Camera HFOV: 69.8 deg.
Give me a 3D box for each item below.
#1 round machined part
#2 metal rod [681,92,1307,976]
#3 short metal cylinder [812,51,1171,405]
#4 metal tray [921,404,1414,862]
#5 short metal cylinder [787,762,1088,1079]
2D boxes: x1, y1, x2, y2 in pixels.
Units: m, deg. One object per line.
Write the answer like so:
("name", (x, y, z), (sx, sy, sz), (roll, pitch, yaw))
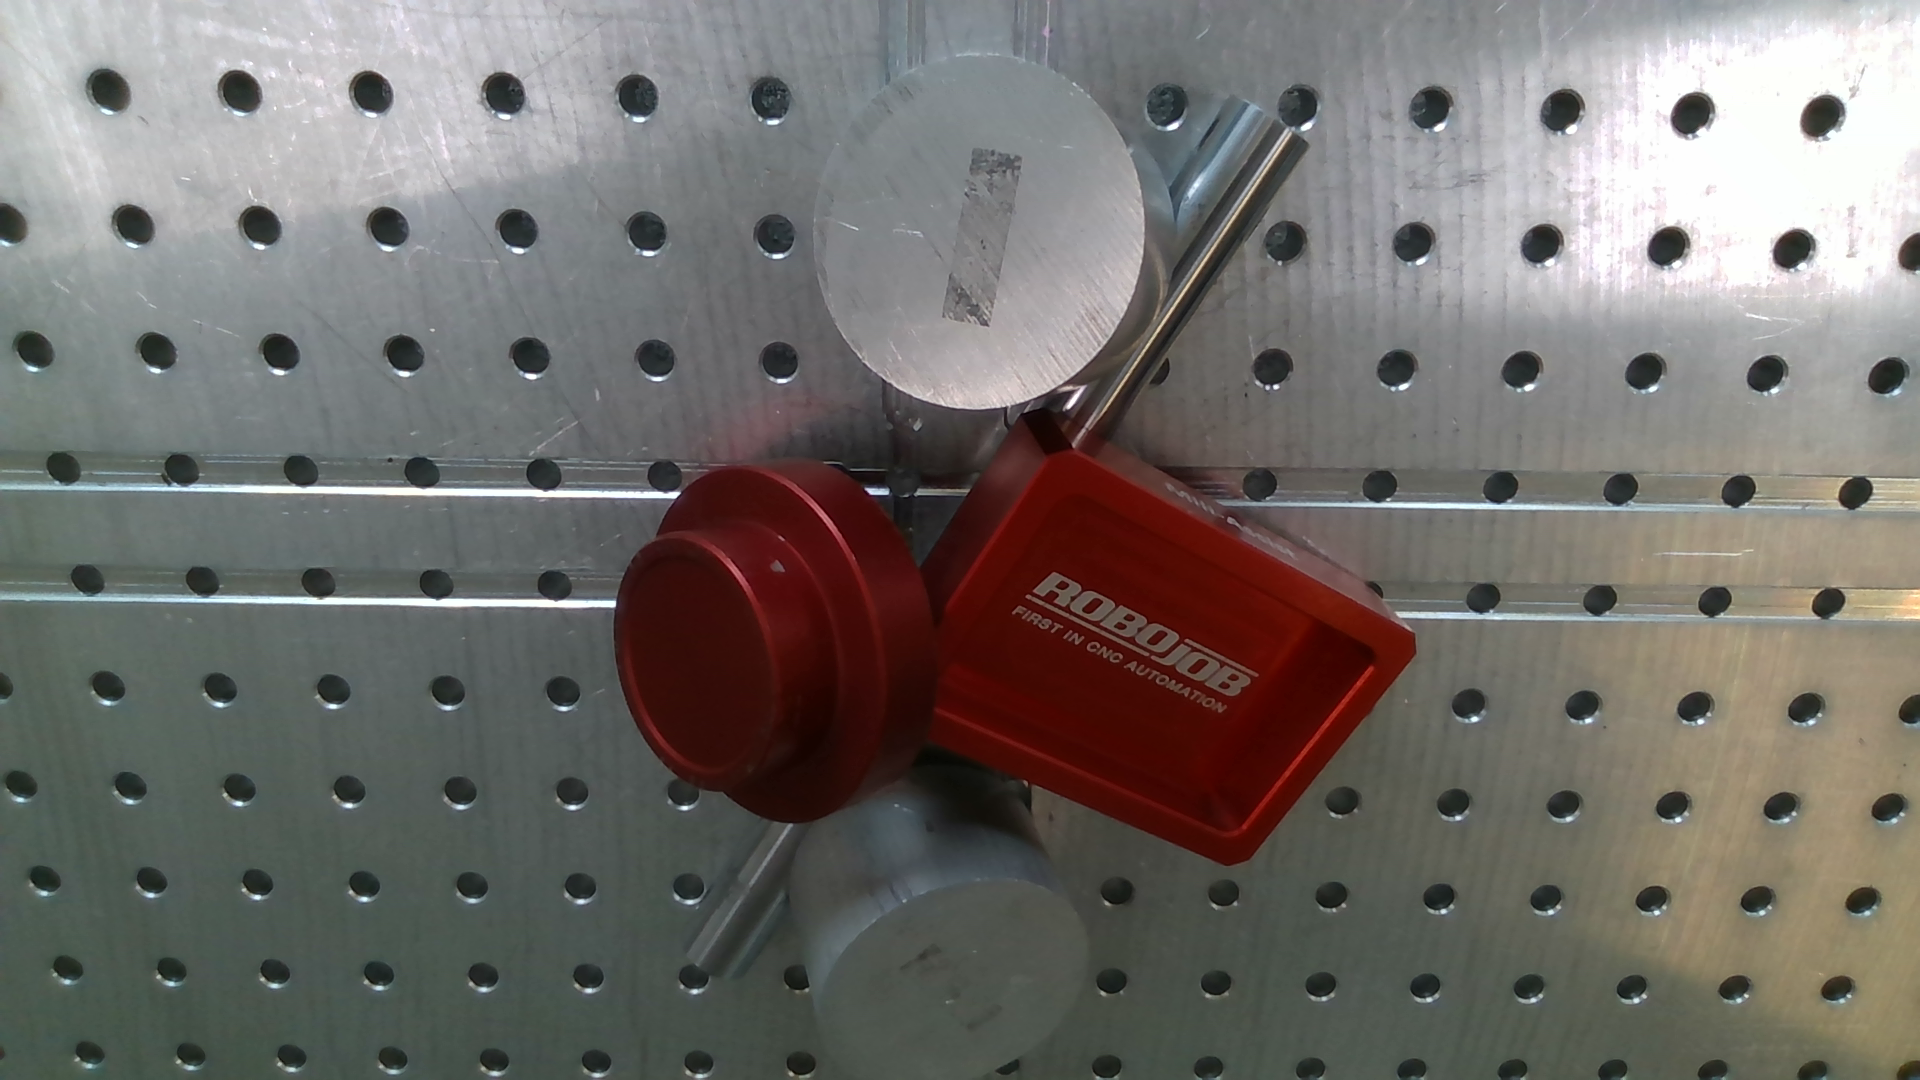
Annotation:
("round machined part", (-0.056, 0.027, 0.368), (0.098, 0.042, 0.098), (11, 106, 41))
("metal rod", (0.000, 0.011, 0.400), (0.025, 0.025, 0.300), (30, 107, -10))
("short metal cylinder", (0.010, -0.075, 0.342), (0.080, 0.050, 0.080), (3, 100, 16))
("metal tray", (0.051, 0.030, 0.389), (0.130, 0.030, 0.090), (26, 108, -23))
("short metal cylinder", (-0.008, 0.114, 0.412), (0.080, 0.050, 0.080), (-9, 122, -14))
